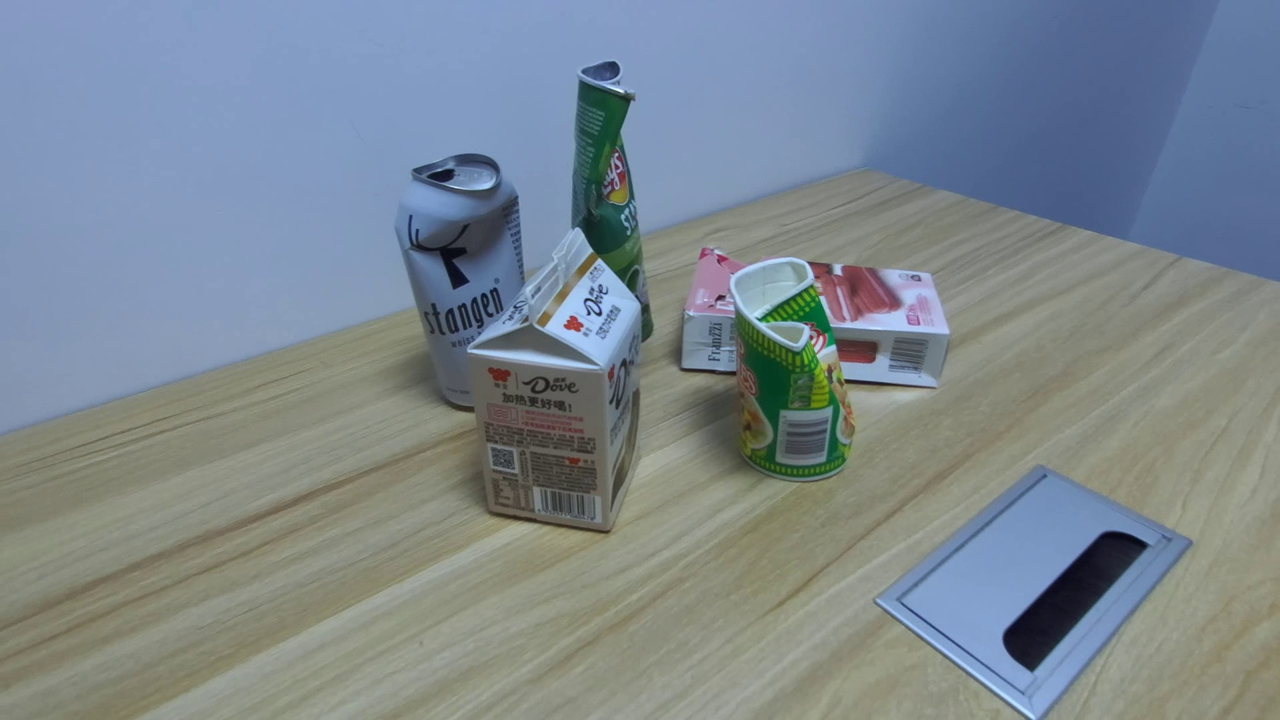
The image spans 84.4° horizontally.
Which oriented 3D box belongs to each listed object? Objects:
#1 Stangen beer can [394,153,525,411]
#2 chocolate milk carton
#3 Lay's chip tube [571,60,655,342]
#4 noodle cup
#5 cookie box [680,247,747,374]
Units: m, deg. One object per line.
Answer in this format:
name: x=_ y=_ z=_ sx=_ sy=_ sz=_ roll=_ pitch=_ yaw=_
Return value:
Stangen beer can: x=-0.113 y=-0.048 z=0.469 sx=0.066 sy=0.162 sz=0.077 roll=-2 pitch=34 yaw=-2
chocolate milk carton: x=-0.042 y=0.009 z=0.383 sx=0.074 sy=0.148 sz=0.075 roll=8 pitch=32 yaw=12
Lay's chip tube: x=-0.024 y=-0.109 z=0.525 sx=0.069 sy=0.201 sz=0.077 roll=-21 pitch=40 yaw=-27
noodle cup: x=0.092 y=0.007 z=0.414 sx=0.083 sy=0.122 sz=0.075 roll=-38 pitch=38 yaw=-29
cookie box: x=0.126 y=-0.026 z=0.546 sx=0.185 sy=0.059 sz=0.105 roll=5 pitch=36 yaw=11
